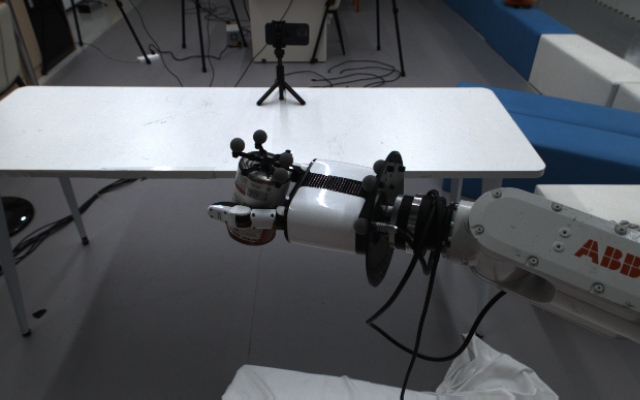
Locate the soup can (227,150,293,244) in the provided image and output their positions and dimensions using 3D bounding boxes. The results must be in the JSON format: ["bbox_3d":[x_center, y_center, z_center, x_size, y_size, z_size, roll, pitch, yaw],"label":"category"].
[{"bbox_3d":[-0.077,-0.001,0.612,0.067,0.101,0.067,13,35,-9],"label":"soup can"}]
